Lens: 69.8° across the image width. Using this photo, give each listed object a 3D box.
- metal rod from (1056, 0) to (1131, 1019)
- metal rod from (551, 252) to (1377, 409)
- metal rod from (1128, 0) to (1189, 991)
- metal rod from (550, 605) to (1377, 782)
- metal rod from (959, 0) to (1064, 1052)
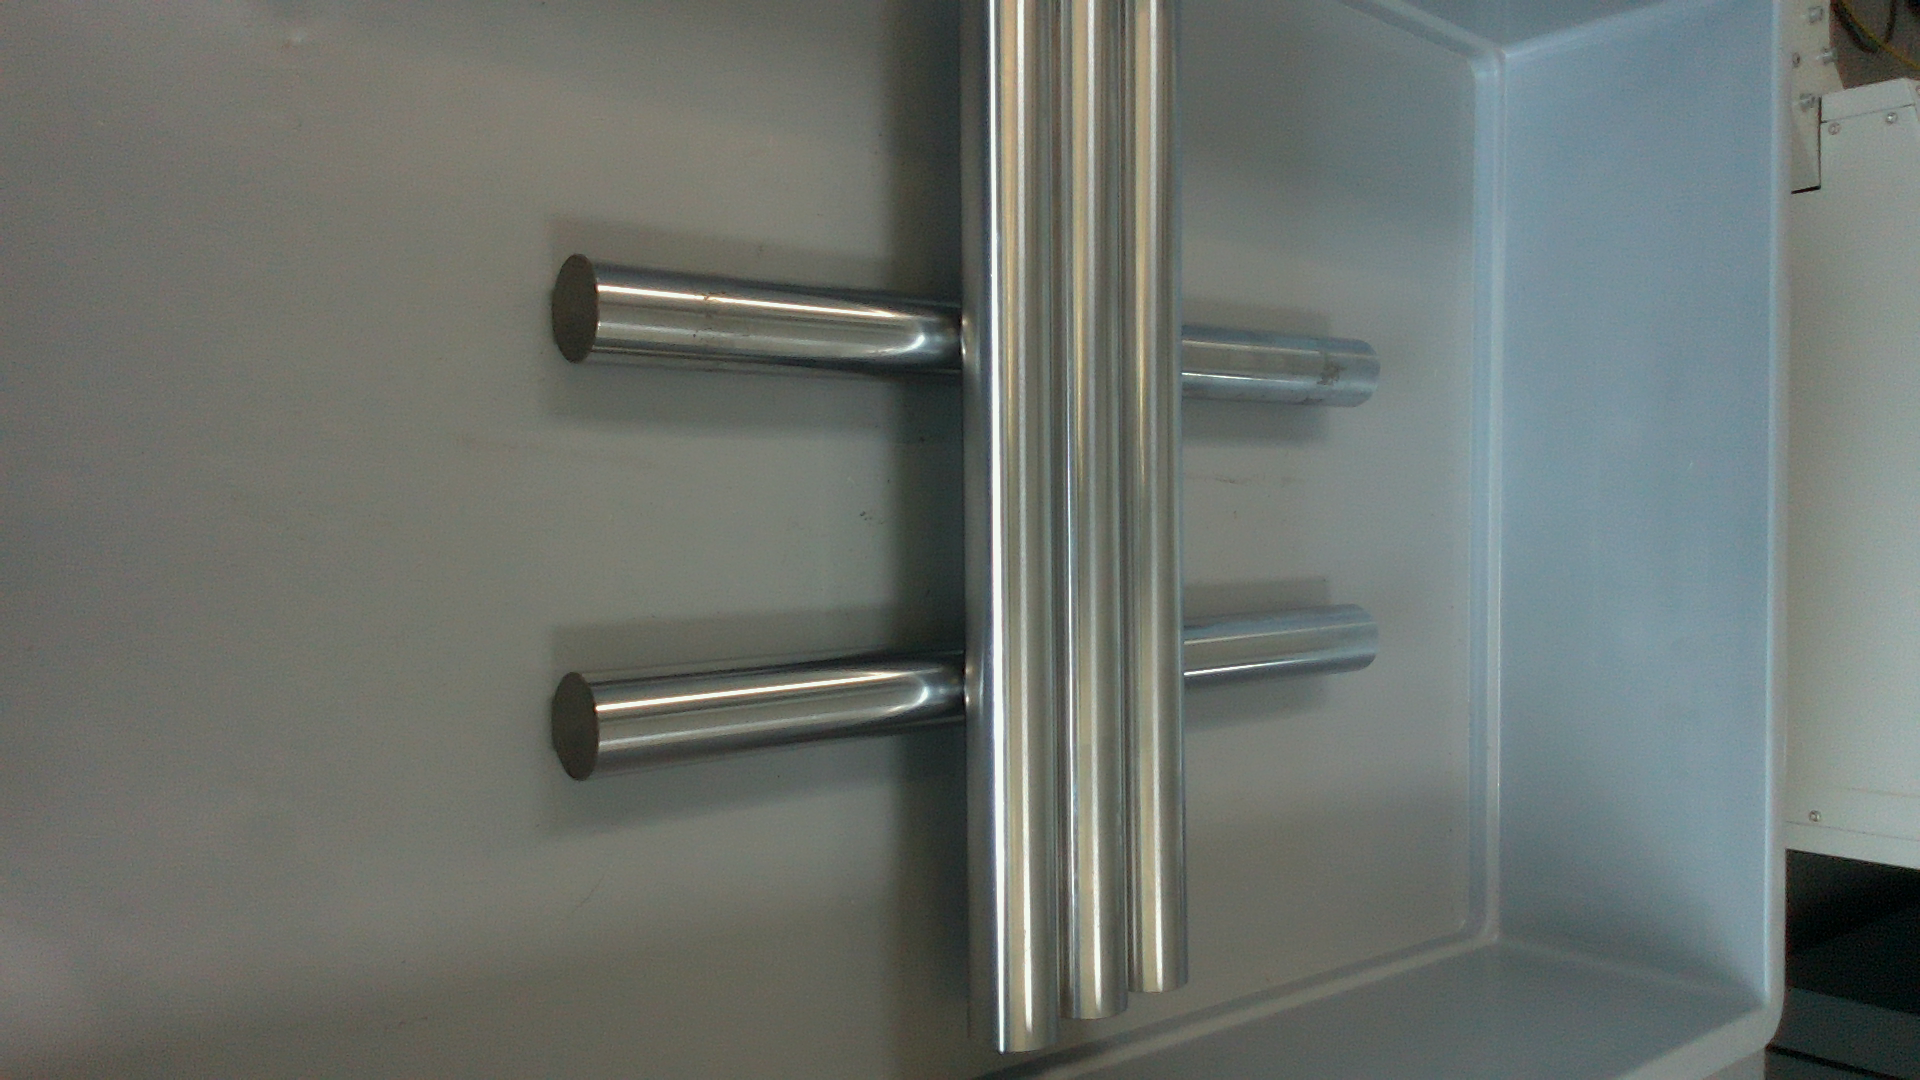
[{"bbox_3d":[0.033,-0.021,0.382,0.025,0.025,0.300,-1,91,-40],"label":"metal rod"},{"bbox_3d":[0.027,-0.057,0.411,0.301,0.025,0.025,-2,91,-40],"label":"metal rod"},{"bbox_3d":[0.052,-0.023,0.398,0.025,0.025,0.300,-1,91,-40],"label":"metal rod"},{"bbox_3d":[0.027,0.039,0.411,0.301,0.025,0.025,-2,91,-40],"label":"metal rod"},{"bbox_3d":[0.014,-0.018,0.365,0.025,0.025,0.300,-1,91,-40],"label":"metal rod"}]
